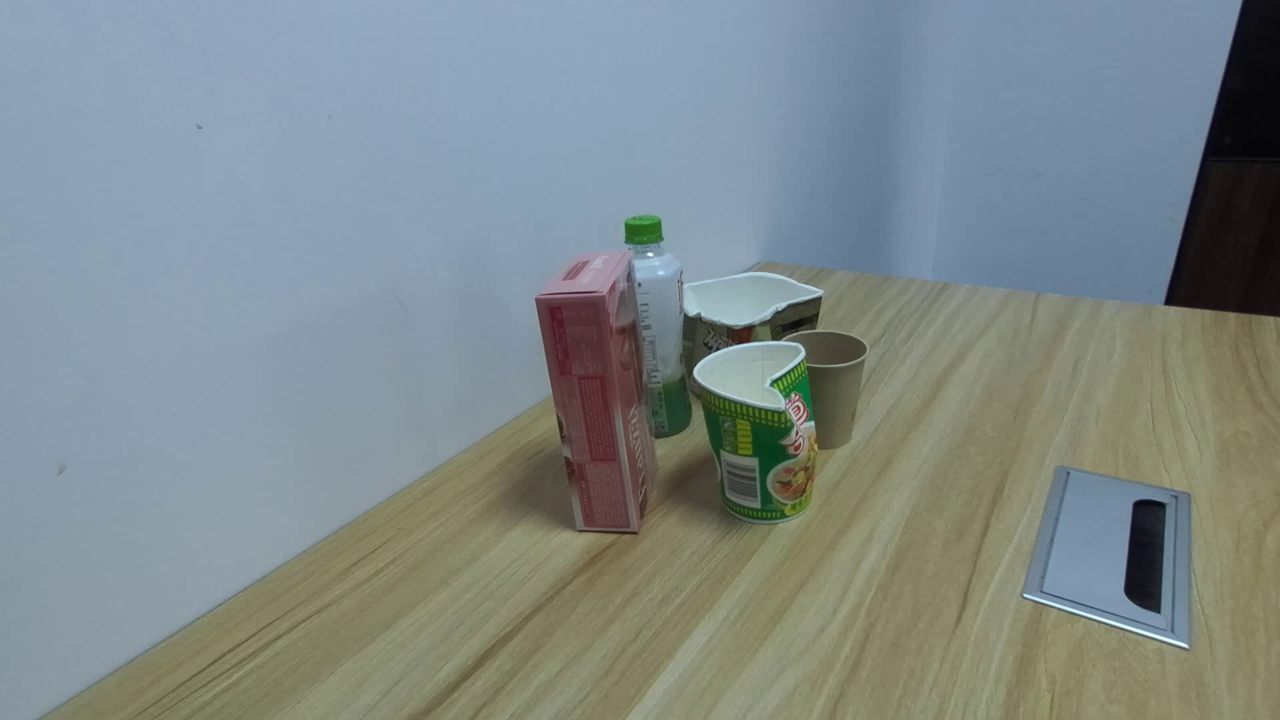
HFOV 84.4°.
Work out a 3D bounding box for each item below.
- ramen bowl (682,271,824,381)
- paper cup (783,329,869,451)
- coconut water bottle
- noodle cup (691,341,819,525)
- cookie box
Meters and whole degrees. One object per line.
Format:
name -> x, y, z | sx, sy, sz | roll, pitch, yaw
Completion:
ramen bowl -> 0.094, -0.023, 0.693 | 0.133, 0.098, 0.114 | 19, 36, 39
paper cup -> 0.150, 0.027, 0.590 | 0.075, 0.082, 0.075 | -4, 24, 2
coconut water bottle -> 0.010, -0.028, 0.614 | 0.063, 0.189, 0.063 | -4, 23, 2
noodle cup -> 0.087, 0.053, 0.509 | 0.086, 0.109, 0.094 | 15, 32, 36
cookie box -> -0.025, 0.024, 0.514 | 0.048, 0.185, 0.096 | -2, 24, 11
